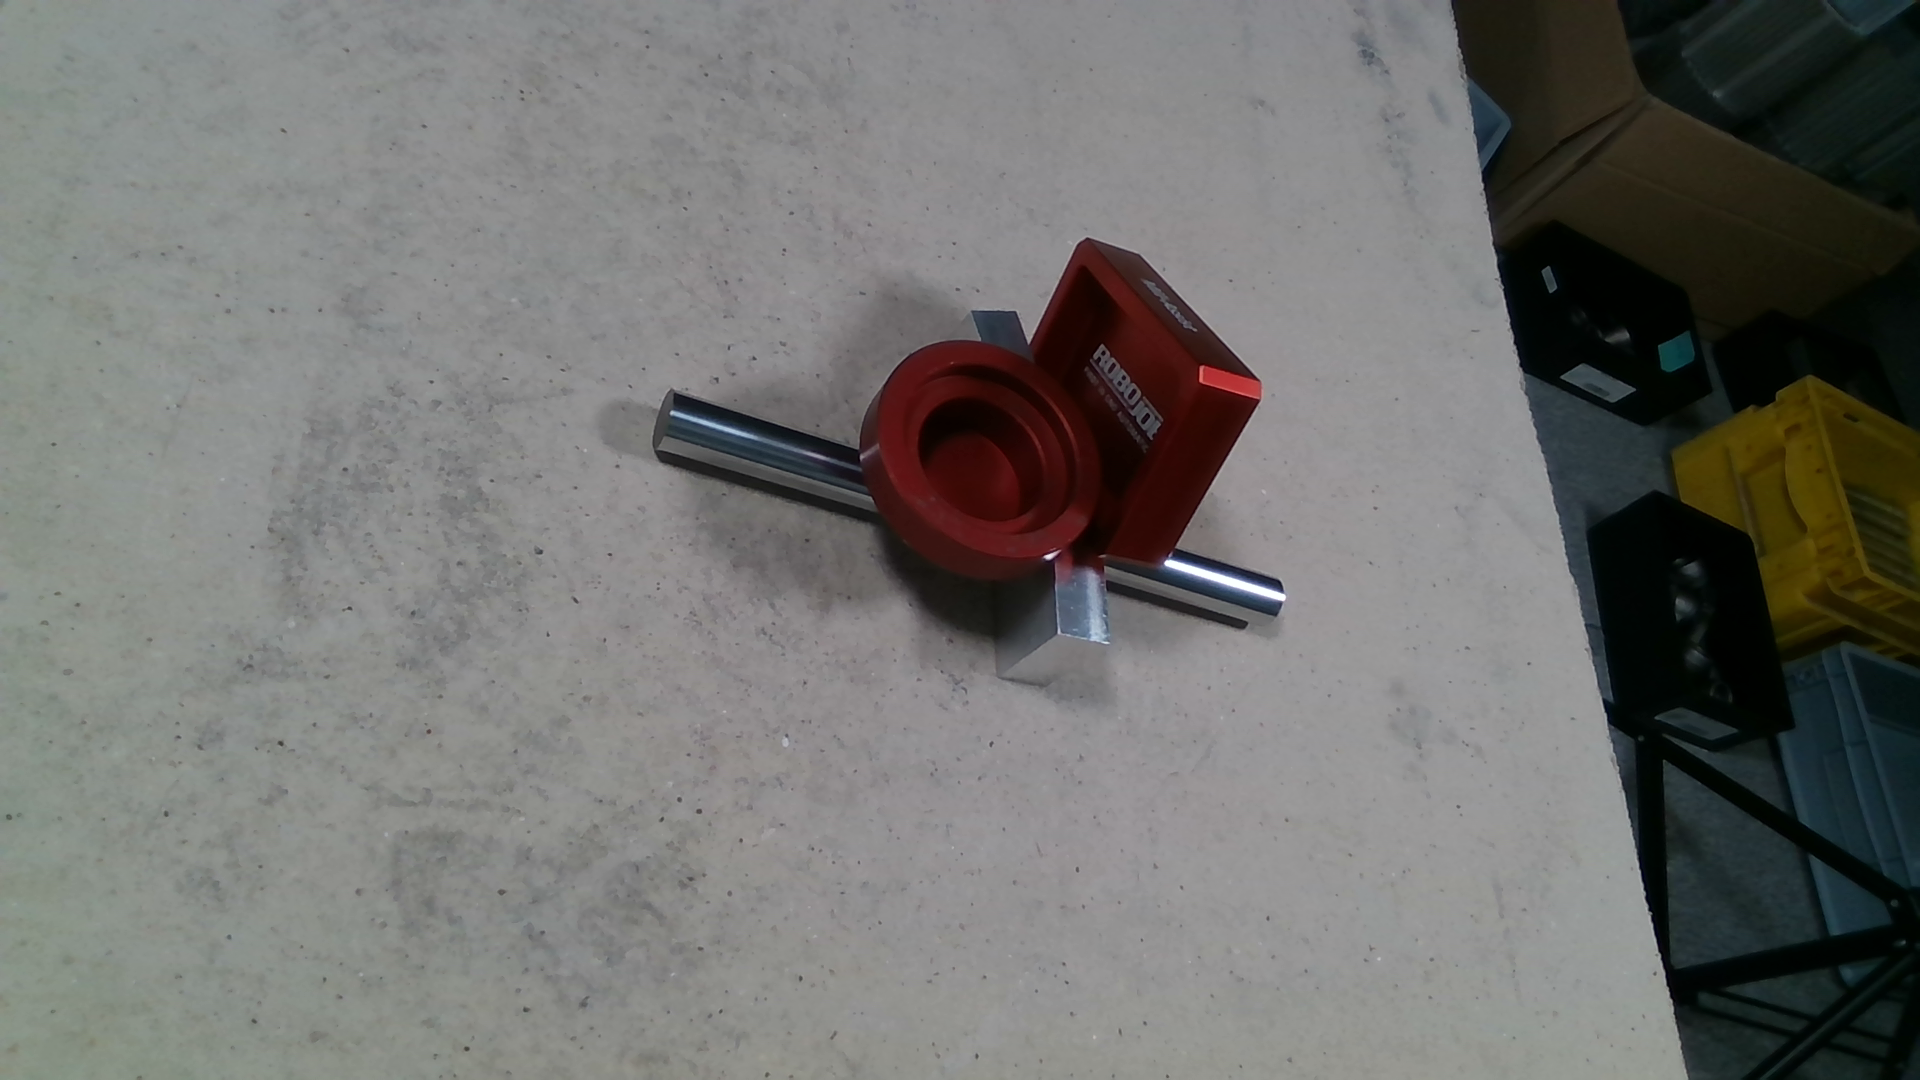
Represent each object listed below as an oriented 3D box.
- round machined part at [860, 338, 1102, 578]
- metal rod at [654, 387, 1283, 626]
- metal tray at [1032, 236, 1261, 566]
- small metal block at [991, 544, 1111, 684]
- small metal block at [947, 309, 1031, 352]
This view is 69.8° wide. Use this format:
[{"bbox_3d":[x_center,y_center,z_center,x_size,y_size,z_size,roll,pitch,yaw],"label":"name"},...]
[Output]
[{"bbox_3d":[0.005,-0.029,0.558,0.098,0.042,0.098,12,61,-22],"label":"round machined part"},{"bbox_3d":[0.015,-0.009,0.601,0.300,0.025,0.025,16,58,-24],"label":"metal rod"},{"bbox_3d":[0.068,-0.062,0.589,0.030,0.090,0.130,11,30,-28],"label":"metal tray"},{"bbox_3d":[0.037,0.028,0.578,0.025,0.050,0.050,13,59,-26],"label":"small metal block"},{"bbox_3d":[0.010,-0.068,0.613,0.025,0.050,0.050,-6,68,-34],"label":"small metal block"}]
